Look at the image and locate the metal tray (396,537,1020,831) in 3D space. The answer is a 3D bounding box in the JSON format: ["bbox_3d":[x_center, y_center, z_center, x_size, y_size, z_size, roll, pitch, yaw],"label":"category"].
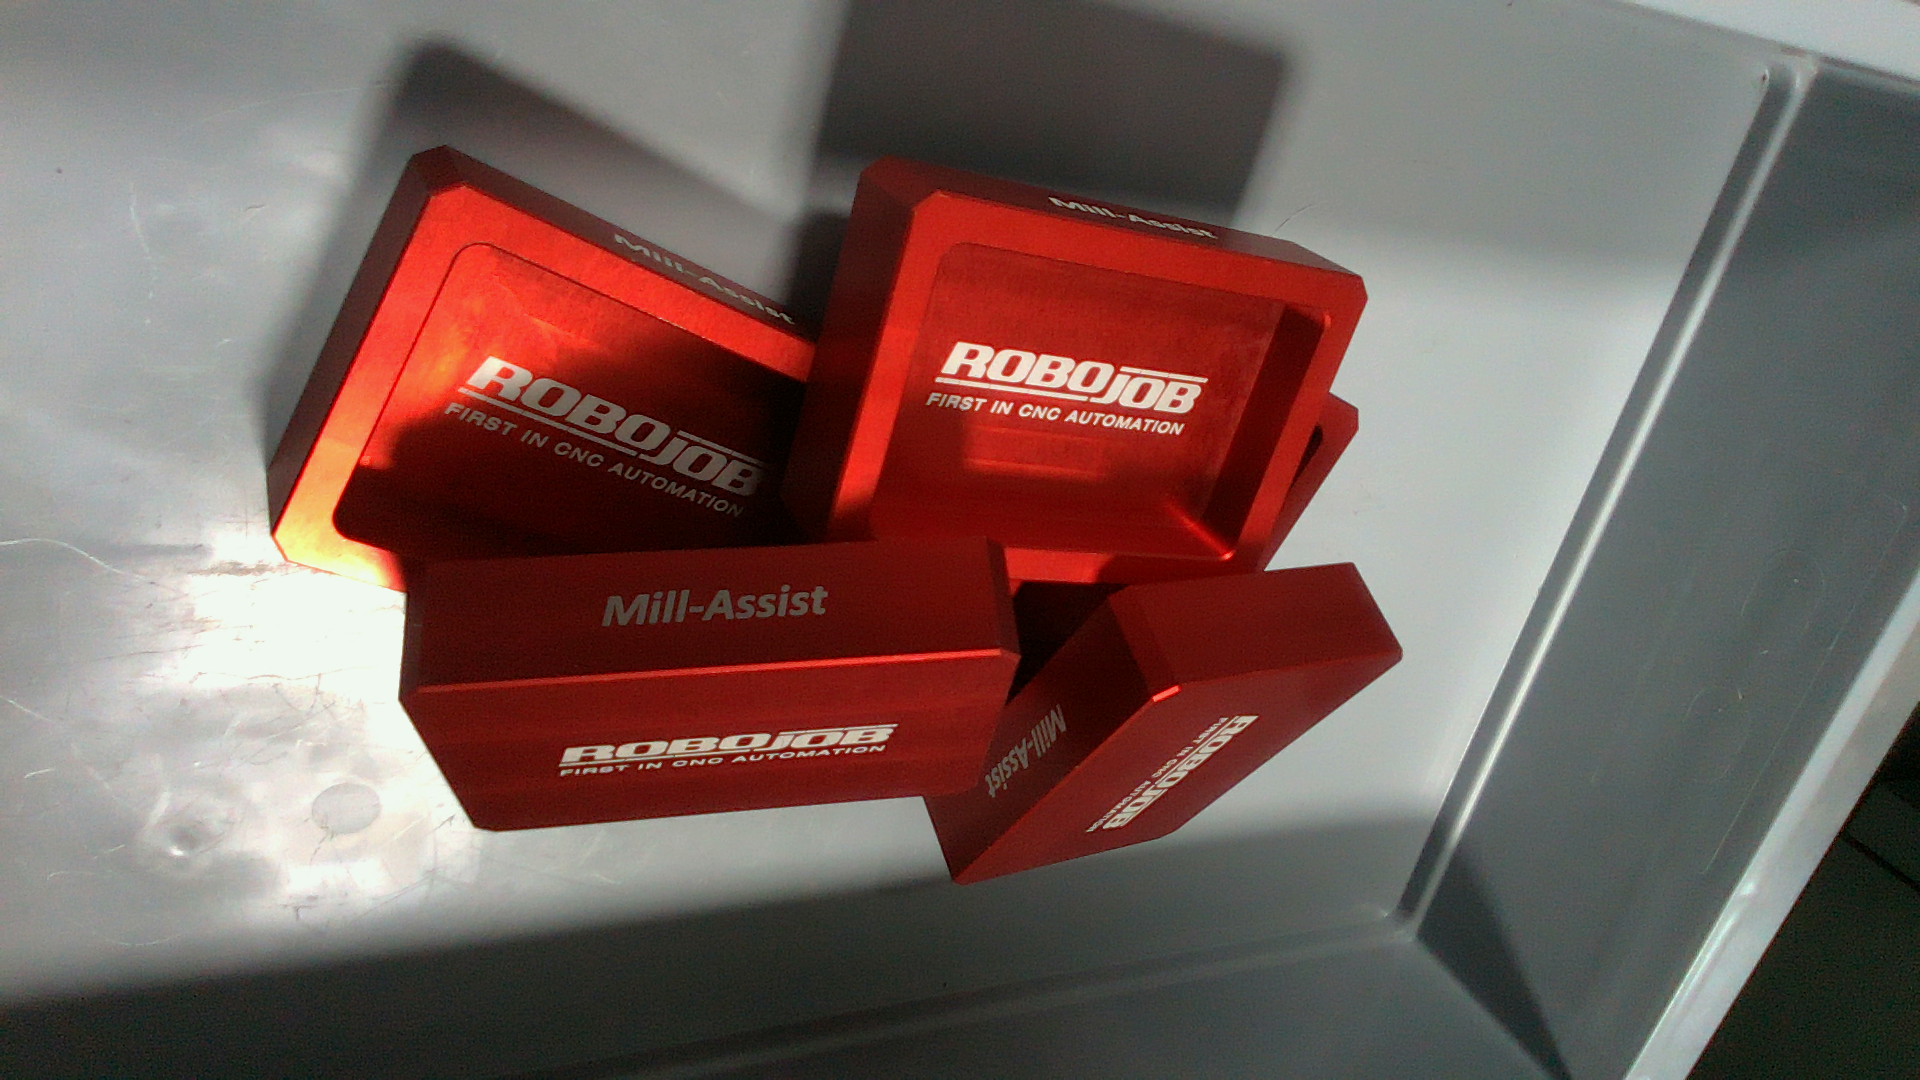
[{"bbox_3d":[-0.057,0.037,0.332,0.130,0.030,0.090,-3,150,-9],"label":"metal tray"}]

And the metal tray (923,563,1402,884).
[{"bbox_3d":[0.055,0.057,0.408,0.090,0.030,0.130,-5,149,-32],"label":"metal tray"}]

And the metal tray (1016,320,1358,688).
[{"bbox_3d":[0.049,-0.003,0.409,0.090,0.030,0.130,21,107,-36],"label":"metal tray"}]

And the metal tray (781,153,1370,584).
[{"bbox_3d":[0.030,-0.036,0.339,0.130,0.030,0.090,3,117,-30],"label":"metal tray"}]

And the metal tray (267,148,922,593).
[{"bbox_3d":[-0.080,-0.021,0.326,0.130,0.030,0.090,21,107,-36],"label":"metal tray"}]
